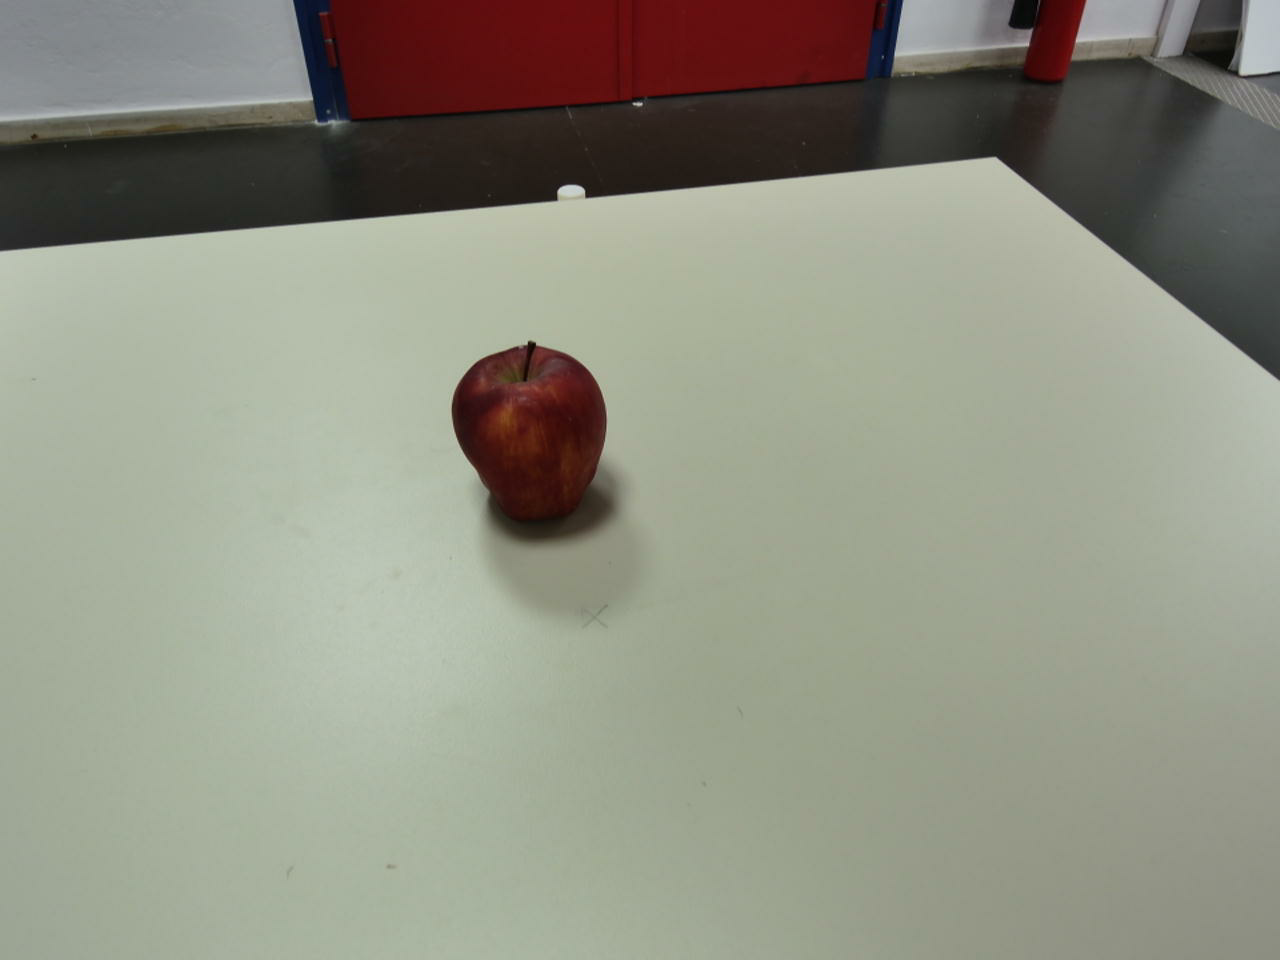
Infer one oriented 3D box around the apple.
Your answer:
[{"bbox_3d":[-0.056,-0.029,0.506,0.083,0.090,0.083,0,39,0],"label":"apple"}]
